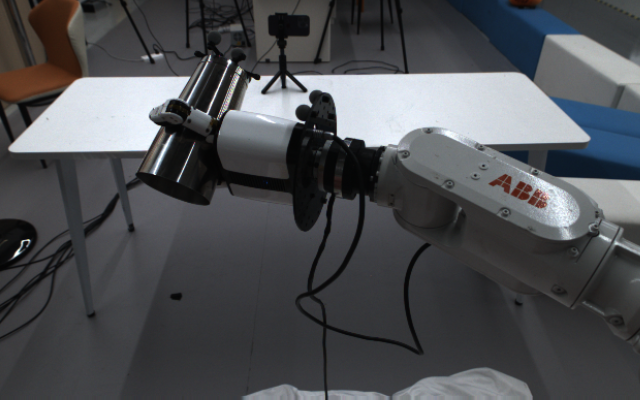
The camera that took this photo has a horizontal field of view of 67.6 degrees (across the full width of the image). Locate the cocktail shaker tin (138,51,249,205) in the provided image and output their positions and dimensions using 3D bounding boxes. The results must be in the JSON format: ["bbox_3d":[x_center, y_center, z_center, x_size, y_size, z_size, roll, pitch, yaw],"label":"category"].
[{"bbox_3d":[-0.147,-0.088,0.595,0.093,0.093,0.170,14,73,16],"label":"cocktail shaker tin"}]
